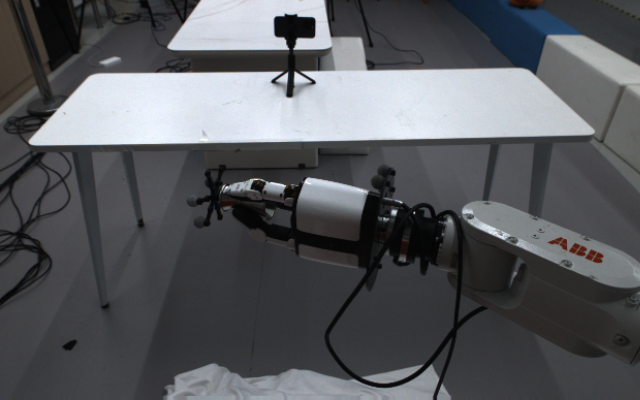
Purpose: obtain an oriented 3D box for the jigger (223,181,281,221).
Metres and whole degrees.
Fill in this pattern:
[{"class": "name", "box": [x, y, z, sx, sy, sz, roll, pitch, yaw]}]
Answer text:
[{"class": "jigger", "box": [-0.092, -0.003, 0.660, 0.071, 0.043, 0.043, 8, 35, 14]}]
